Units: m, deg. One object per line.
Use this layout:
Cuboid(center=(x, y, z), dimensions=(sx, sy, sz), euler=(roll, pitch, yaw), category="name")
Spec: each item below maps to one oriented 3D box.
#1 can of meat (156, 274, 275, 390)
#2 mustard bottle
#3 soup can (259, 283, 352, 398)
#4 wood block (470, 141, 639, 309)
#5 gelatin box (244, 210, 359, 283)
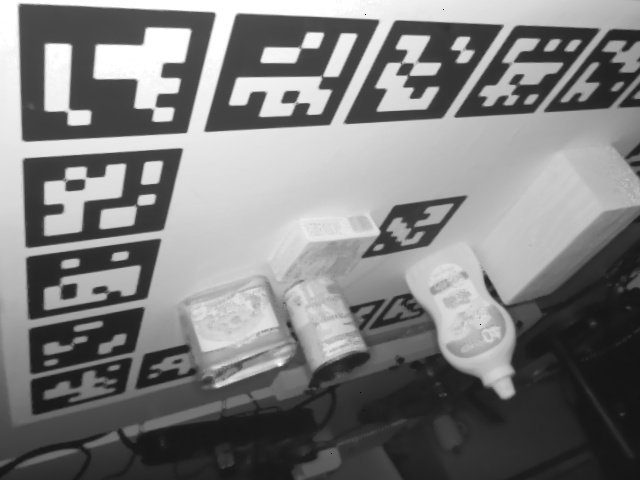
Cuboid(center=(-0.105, 0.089, 0.683), dimensions=(0.103, 0.084, 0.057), euler=(-14, 147, -14), category="can of meat")
Cuboid(center=(0.170, 0.101, 0.803), dimensions=(0.096, 0.191, 0.058), euler=(-21, 150, -4), category="mustard bottle")
Cuboid(center=(-0.017, 0.105, 0.735), dimensions=(0.068, 0.102, 0.067), euler=(-19, 147, -12), category="soup can")
Cuboid(center=(0.270, -0.012, 0.796), dimensions=(0.092, 0.090, 0.203), euler=(-6, 148, -26), category="wood block")
Cuboid(center=(-0.018, 0.005, 0.662), dimensions=(0.091, 0.030, 0.072), euler=(-3, 141, -37), category="gelatin box")
